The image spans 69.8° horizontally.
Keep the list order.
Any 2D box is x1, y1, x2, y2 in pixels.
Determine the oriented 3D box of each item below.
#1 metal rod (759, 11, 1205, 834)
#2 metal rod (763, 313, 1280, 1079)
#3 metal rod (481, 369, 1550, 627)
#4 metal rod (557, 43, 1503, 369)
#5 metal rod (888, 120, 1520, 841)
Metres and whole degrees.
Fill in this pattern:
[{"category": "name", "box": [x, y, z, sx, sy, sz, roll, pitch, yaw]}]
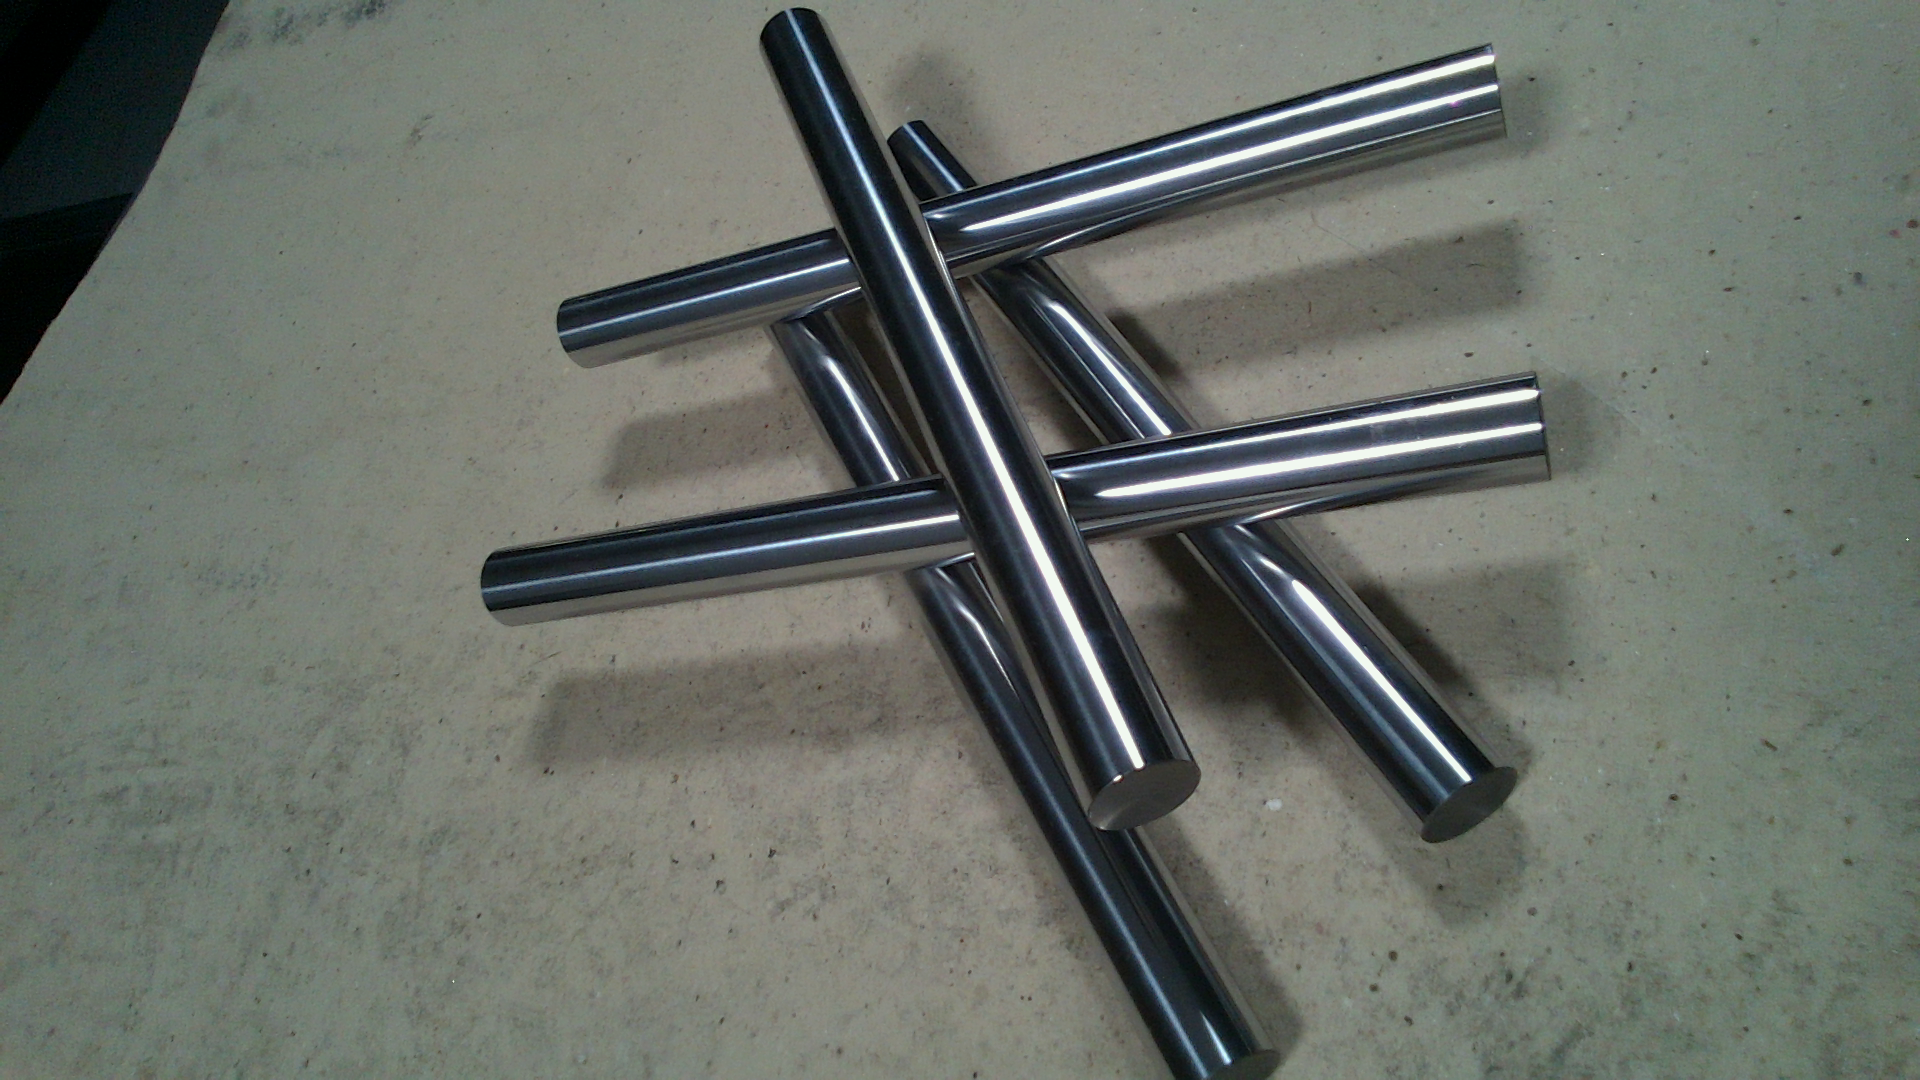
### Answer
[{"category": "metal rod", "box": [-0.009, -0.057, 0.369, 0.025, 0.025, 0.300, -30, 52, 9]}, {"category": "metal rod", "box": [-0.003, 0.015, 0.385, 0.025, 0.025, 0.299, -35, 51, 5]}, {"category": "metal rod", "box": [-0.005, -0.006, 0.368, 0.299, 0.025, 0.025, -9, 58, 24]}, {"category": "metal rod", "box": [0.004, -0.094, 0.418, 0.299, 0.025, 0.025, -9, 57, 23]}, {"category": "metal rod", "box": [0.047, -0.040, 0.393, 0.025, 0.025, 0.299, -37, 51, 4]}]
